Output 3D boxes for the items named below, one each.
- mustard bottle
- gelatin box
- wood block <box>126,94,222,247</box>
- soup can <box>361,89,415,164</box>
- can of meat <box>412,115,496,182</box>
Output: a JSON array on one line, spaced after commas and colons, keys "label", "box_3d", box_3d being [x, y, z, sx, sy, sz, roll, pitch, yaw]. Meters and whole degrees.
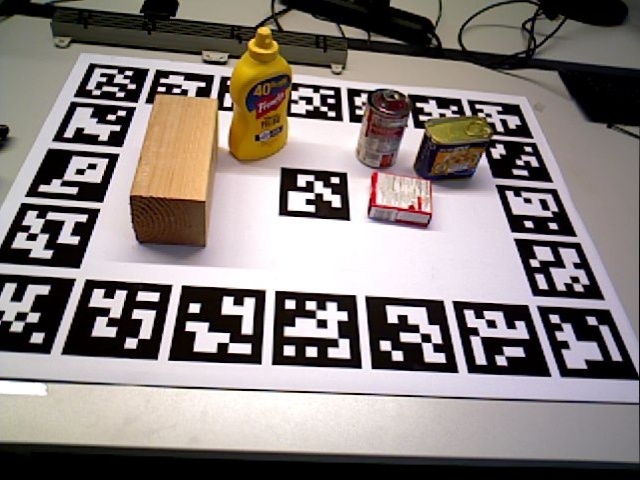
[{"label": "mustard bottle", "box_3d": [-0.085, -0.201, 0.756, 0.094, 0.196, 0.058, -16, 54, -24]}, {"label": "gelatin box", "box_3d": [0.120, -0.056, 0.763, 0.089, 0.031, 0.072, 10, 51, 3]}, {"label": "wood block", "box_3d": [-0.185, -0.099, 0.716, 0.090, 0.092, 0.203, 5, 46, -7]}, {"label": "soup can", "box_3d": [0.102, -0.172, 0.803, 0.067, 0.104, 0.067, 4, 51, -6]}, {"label": "can of meat", "box_3d": [0.196, -0.136, 0.813, 0.100, 0.086, 0.057, -6, 52, -17]}]
